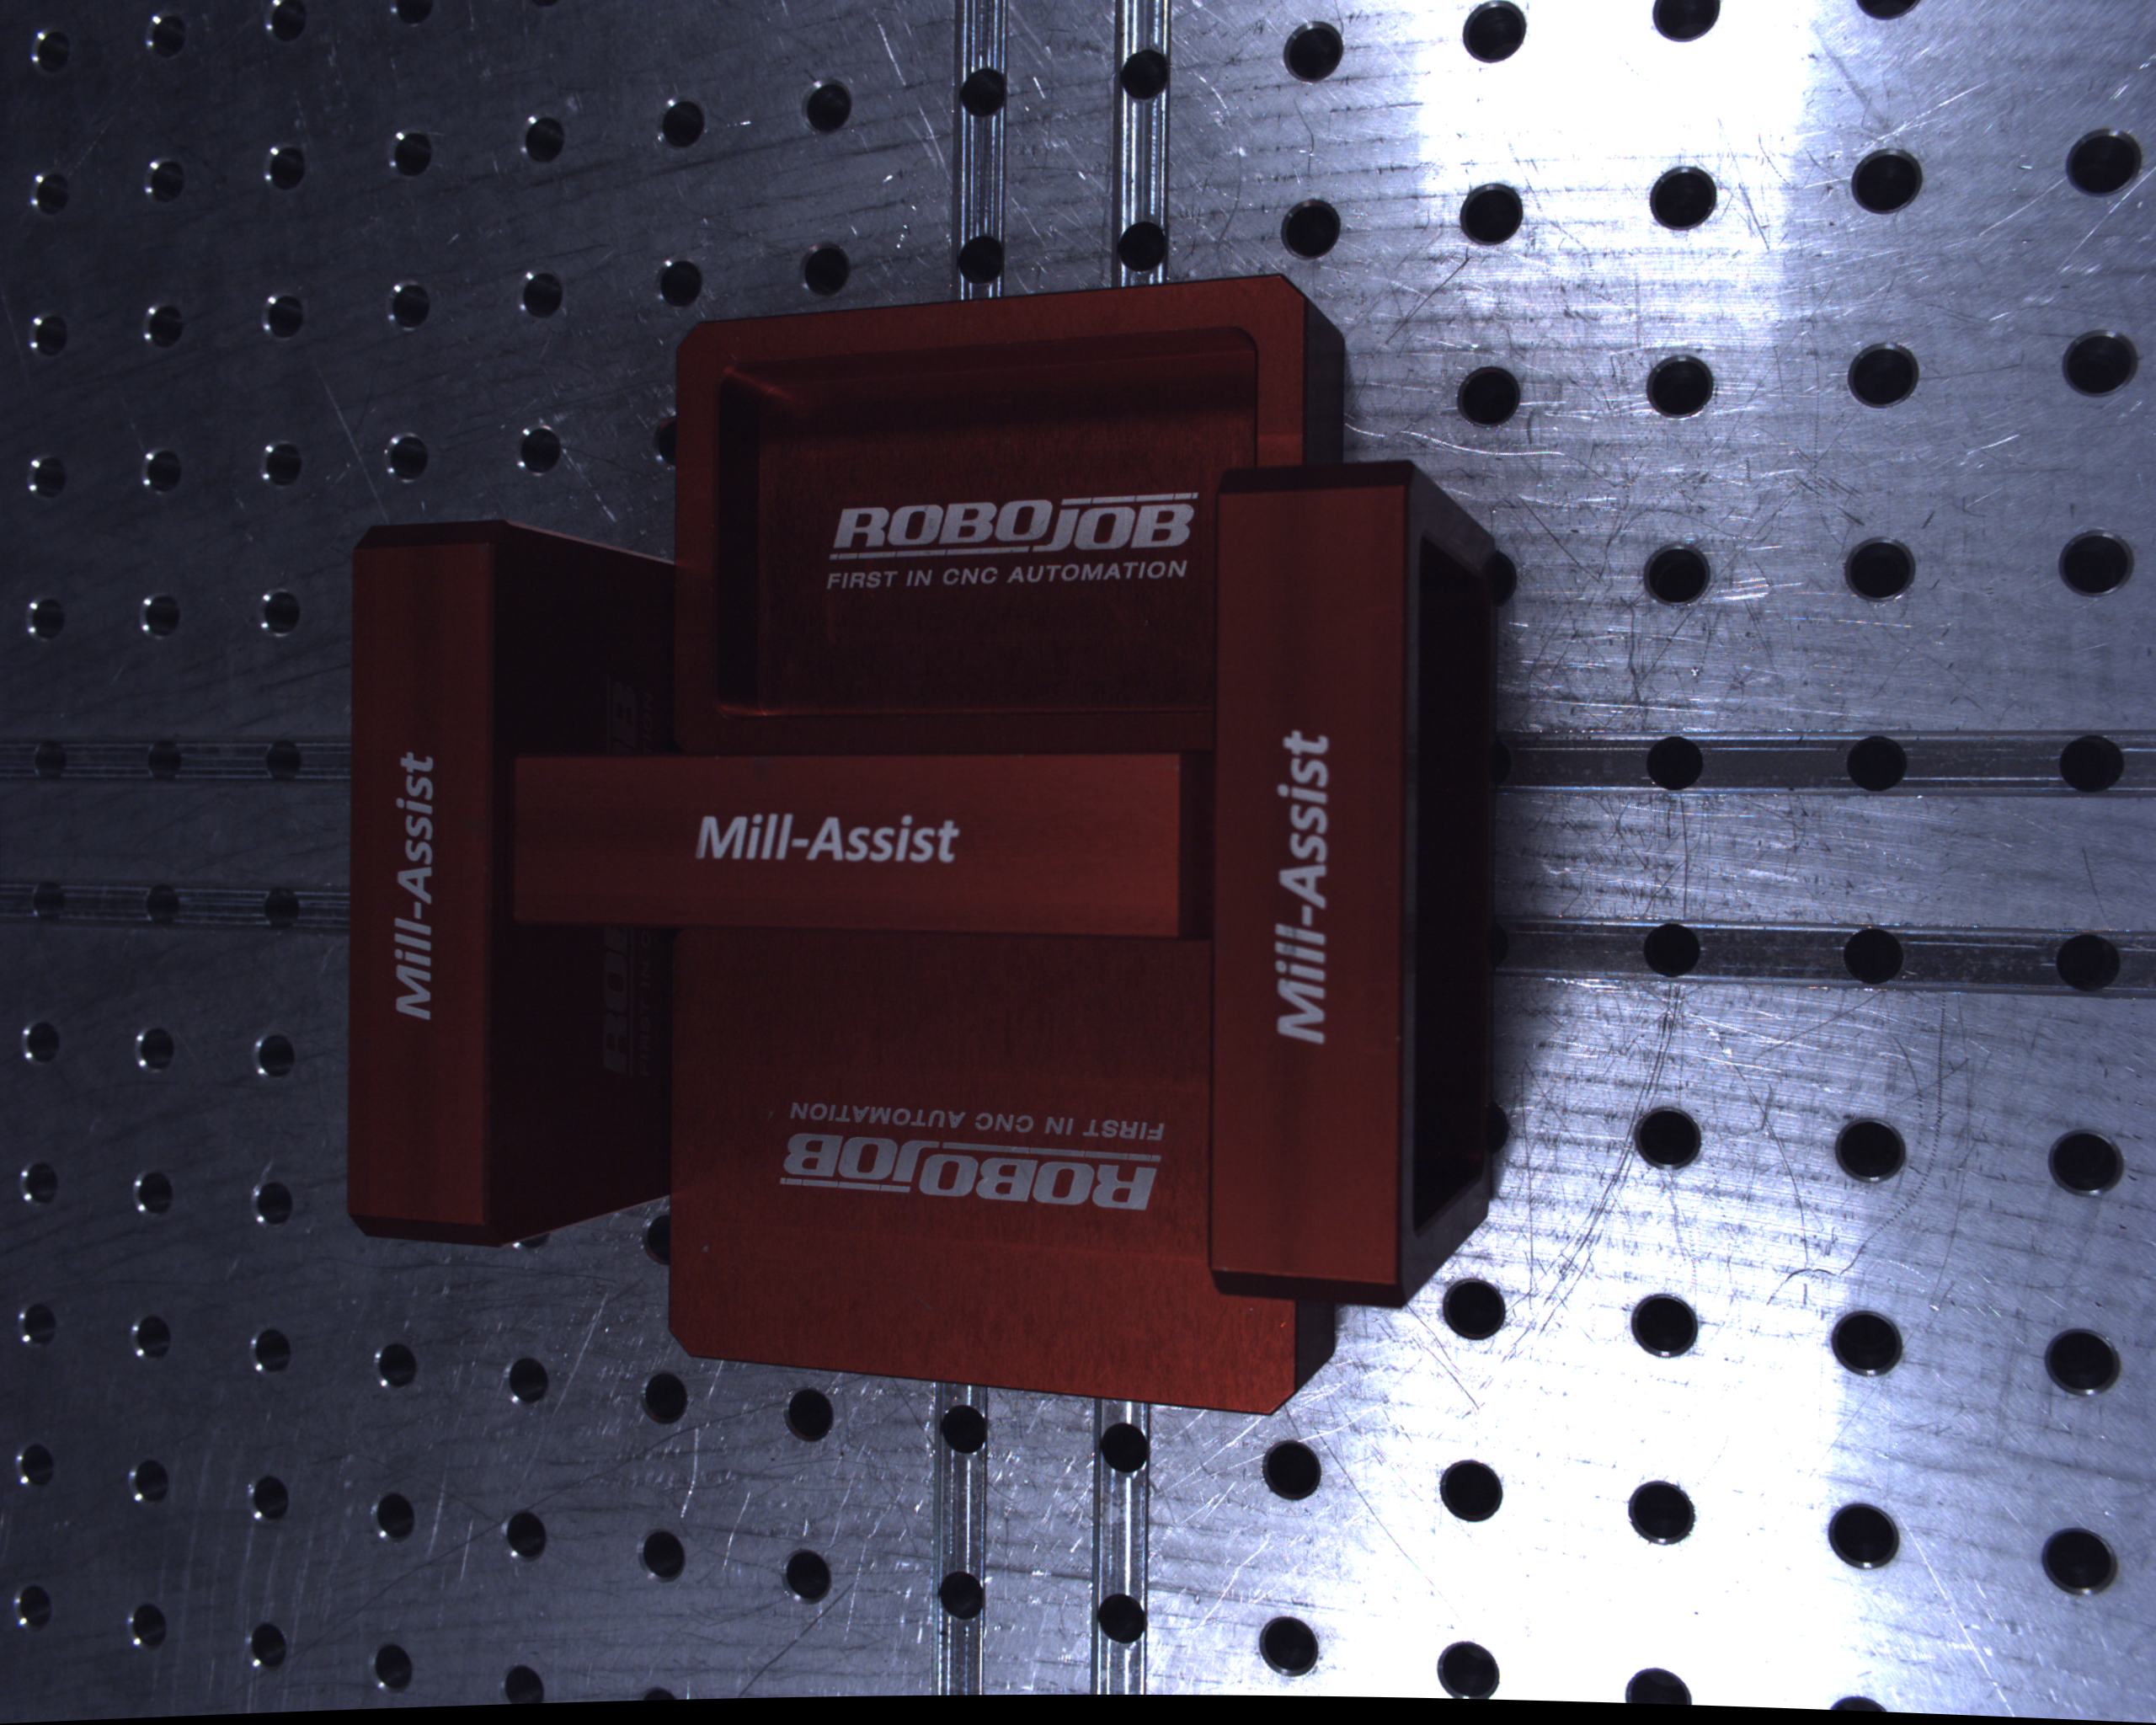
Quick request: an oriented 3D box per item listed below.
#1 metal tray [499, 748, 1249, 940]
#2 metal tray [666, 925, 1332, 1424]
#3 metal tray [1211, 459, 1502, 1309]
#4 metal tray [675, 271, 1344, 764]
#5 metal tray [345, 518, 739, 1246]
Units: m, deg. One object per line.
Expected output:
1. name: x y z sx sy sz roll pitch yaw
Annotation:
1. metal tray: -0.027 -0.004 0.385 0.130 0.090 0.030 1 91 19
2. metal tray: -0.017 0.057 0.413 0.130 0.030 0.089 1 90 19
3. metal tray: 0.050 0.003 0.359 0.030 0.090 0.129 1 90 20
4. metal tray: -0.015 -0.064 0.414 0.130 0.030 0.089 1 90 19
5. metal tray: -0.102 0.003 0.412 0.030 0.090 0.129 1 90 20
